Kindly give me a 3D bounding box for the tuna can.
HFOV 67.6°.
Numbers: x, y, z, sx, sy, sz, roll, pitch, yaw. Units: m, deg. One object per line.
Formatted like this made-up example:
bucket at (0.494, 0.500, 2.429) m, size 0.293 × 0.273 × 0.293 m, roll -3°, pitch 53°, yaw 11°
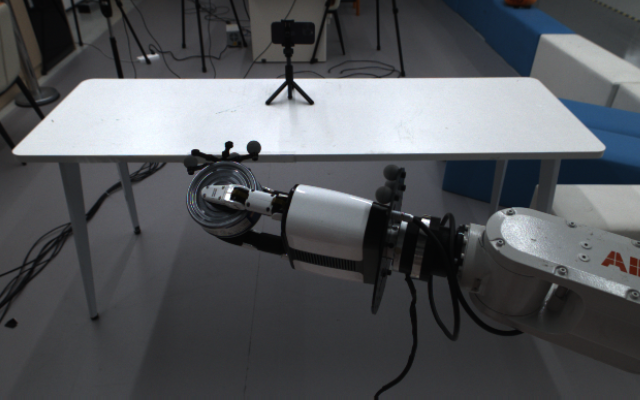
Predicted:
tuna can at (-0.105, 0.004, 0.557) m, size 0.085 × 0.034 × 0.085 m, roll -4°, pitch 68°, yaw 9°
